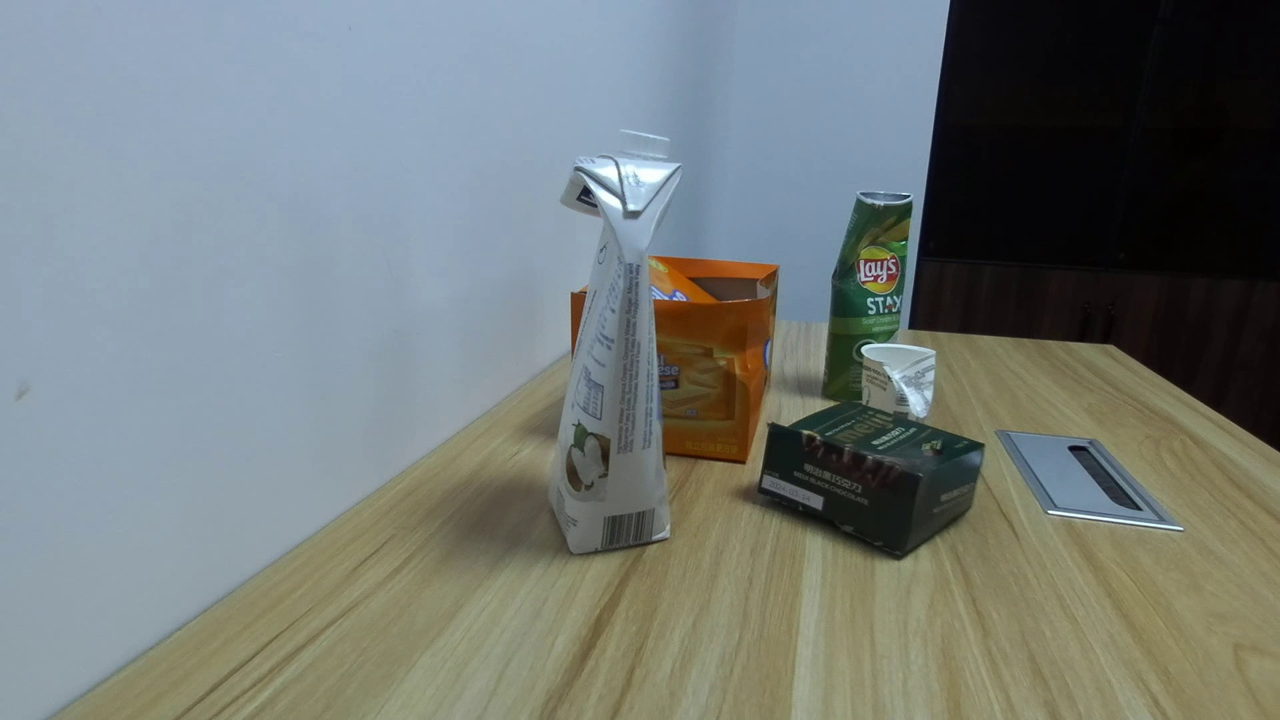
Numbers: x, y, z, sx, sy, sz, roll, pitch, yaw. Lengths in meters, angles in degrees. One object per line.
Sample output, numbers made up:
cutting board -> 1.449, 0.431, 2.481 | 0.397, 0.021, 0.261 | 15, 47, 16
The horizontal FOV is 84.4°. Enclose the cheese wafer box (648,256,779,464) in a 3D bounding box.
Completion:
cheese wafer box -> 0.043, -0.011, 0.636 | 0.152, 0.132, 0.231 | 8, 16, 12

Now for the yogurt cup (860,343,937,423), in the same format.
yogurt cup -> 0.223, 0.027, 0.618 | 0.067, 0.070, 0.067 | 1, 14, 0

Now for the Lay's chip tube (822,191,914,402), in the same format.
Lay's chip tube -> 0.223, -0.060, 0.691 | 0.069, 0.201, 0.077 | 6, 19, 15

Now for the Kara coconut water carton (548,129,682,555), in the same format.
Kara coconut water carton -> -0.014, -0.010, 0.418 | 0.069, 0.238, 0.115 | -2, 17, -17

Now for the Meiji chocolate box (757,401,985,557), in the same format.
Meiji chocolate box -> 0.157, 0.074, 0.481 | 0.122, 0.058, 0.116 | 17, 18, 42
